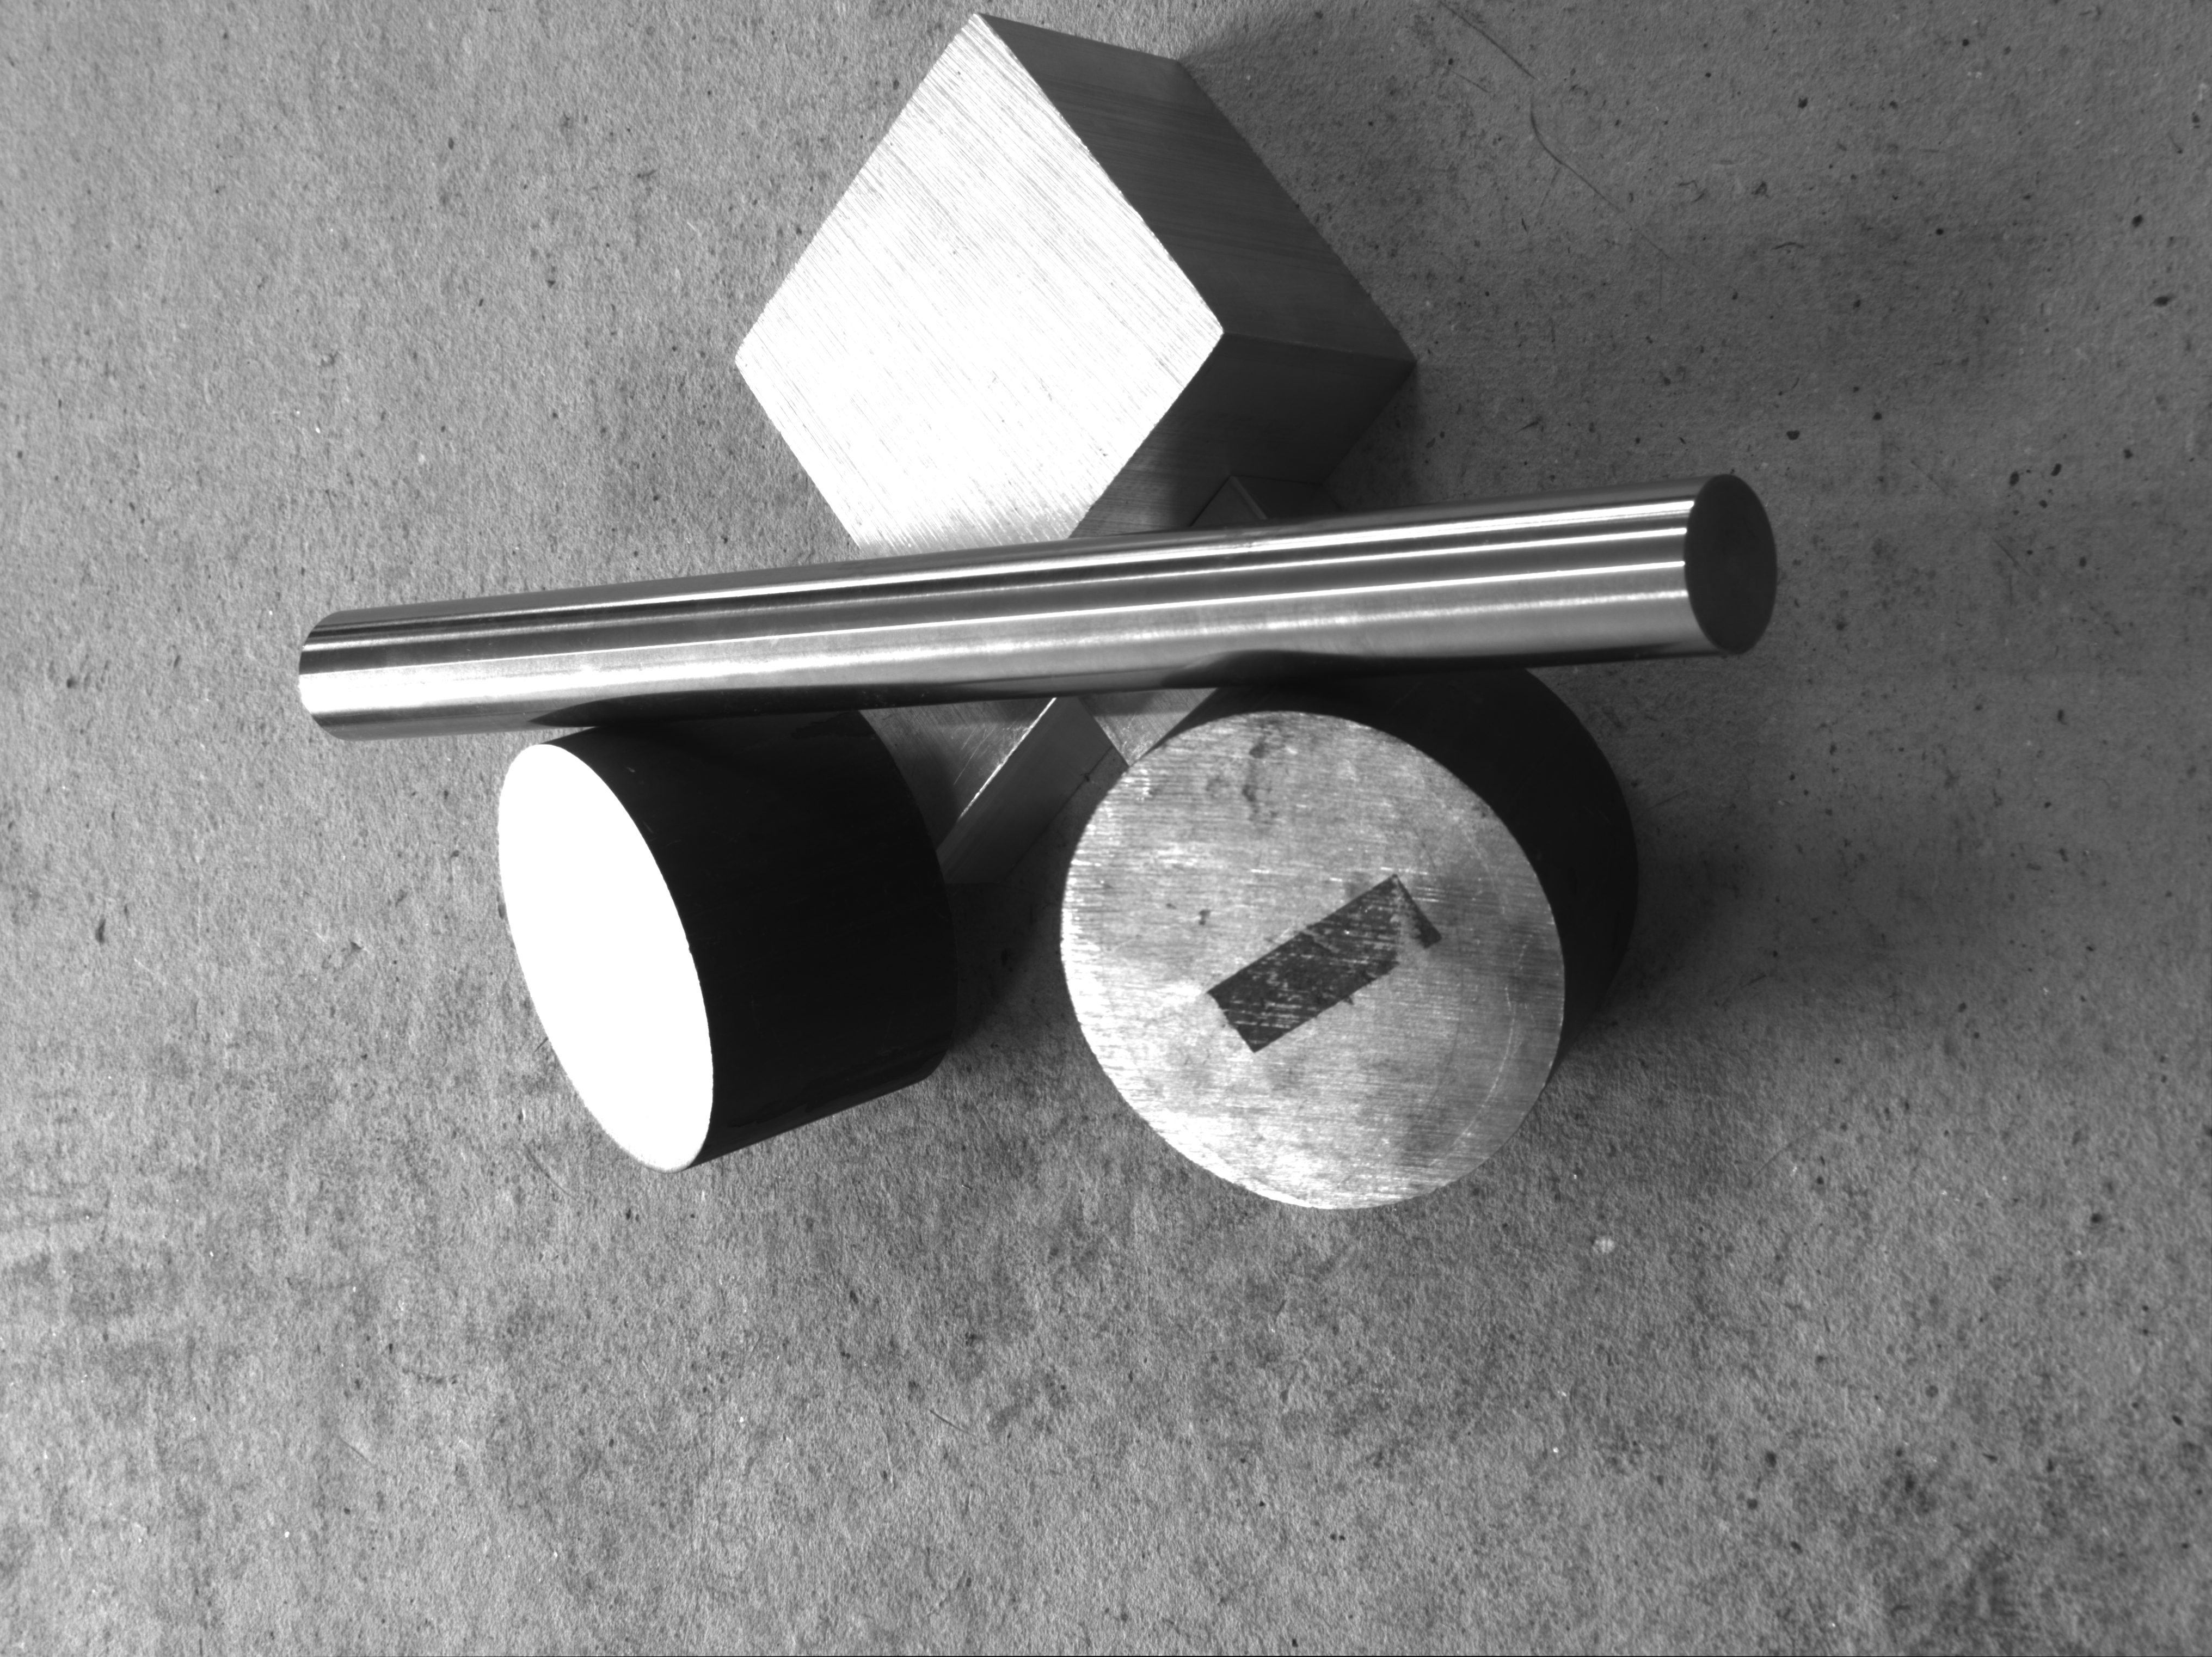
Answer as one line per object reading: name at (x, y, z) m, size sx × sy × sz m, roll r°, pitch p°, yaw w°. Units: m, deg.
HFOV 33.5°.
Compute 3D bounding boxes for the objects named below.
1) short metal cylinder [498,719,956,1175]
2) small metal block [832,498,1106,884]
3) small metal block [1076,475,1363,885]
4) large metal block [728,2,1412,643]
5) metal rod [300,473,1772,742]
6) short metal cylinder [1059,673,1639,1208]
short metal cylinder at (-0.070, 0.017, 0.669) m, size 0.080 × 0.050 × 0.080 m, roll 36°, pitch 135°, yaw 46°
small metal block at (-0.026, -0.025, 0.668) m, size 0.050 × 0.025 × 0.050 m, roll -50°, pitch 60°, yaw 27°
small metal block at (0.028, -0.023, 0.622) m, size 0.050 × 0.025 × 0.050 m, roll -51°, pitch 60°, yaw 28°
large metal block at (-0.008, -0.082, 0.633) m, size 0.080 × 0.050 × 0.080 m, roll -50°, pitch 60°, yaw 28°
metal rod at (-0.029, -0.033, 0.602) m, size 0.299 × 0.025 × 0.025 m, roll -2°, pitch 89°, yaw 40°
short metal cylinder at (0.039, 0.013, 0.578) m, size 0.080 × 0.050 × 0.080 m, roll 7°, pitch 110°, yaw 19°
